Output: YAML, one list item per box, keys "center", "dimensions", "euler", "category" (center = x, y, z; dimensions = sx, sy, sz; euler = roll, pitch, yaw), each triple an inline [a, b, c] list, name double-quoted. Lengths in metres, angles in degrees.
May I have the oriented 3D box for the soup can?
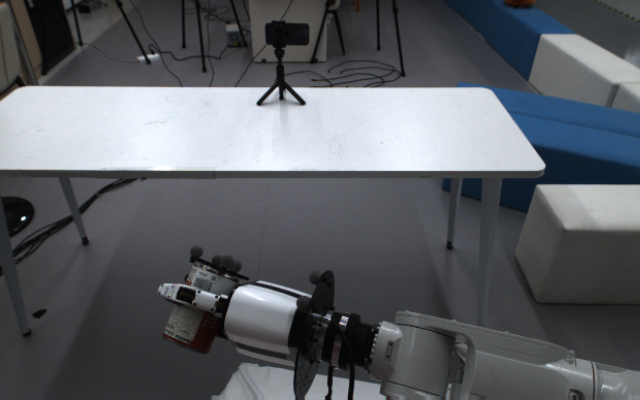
- center: [-0.154, 0.143, 0.637]
  dimensions: [0.067, 0.067, 0.101]
  euler: [16, 75, 19]
  category: "soup can"
